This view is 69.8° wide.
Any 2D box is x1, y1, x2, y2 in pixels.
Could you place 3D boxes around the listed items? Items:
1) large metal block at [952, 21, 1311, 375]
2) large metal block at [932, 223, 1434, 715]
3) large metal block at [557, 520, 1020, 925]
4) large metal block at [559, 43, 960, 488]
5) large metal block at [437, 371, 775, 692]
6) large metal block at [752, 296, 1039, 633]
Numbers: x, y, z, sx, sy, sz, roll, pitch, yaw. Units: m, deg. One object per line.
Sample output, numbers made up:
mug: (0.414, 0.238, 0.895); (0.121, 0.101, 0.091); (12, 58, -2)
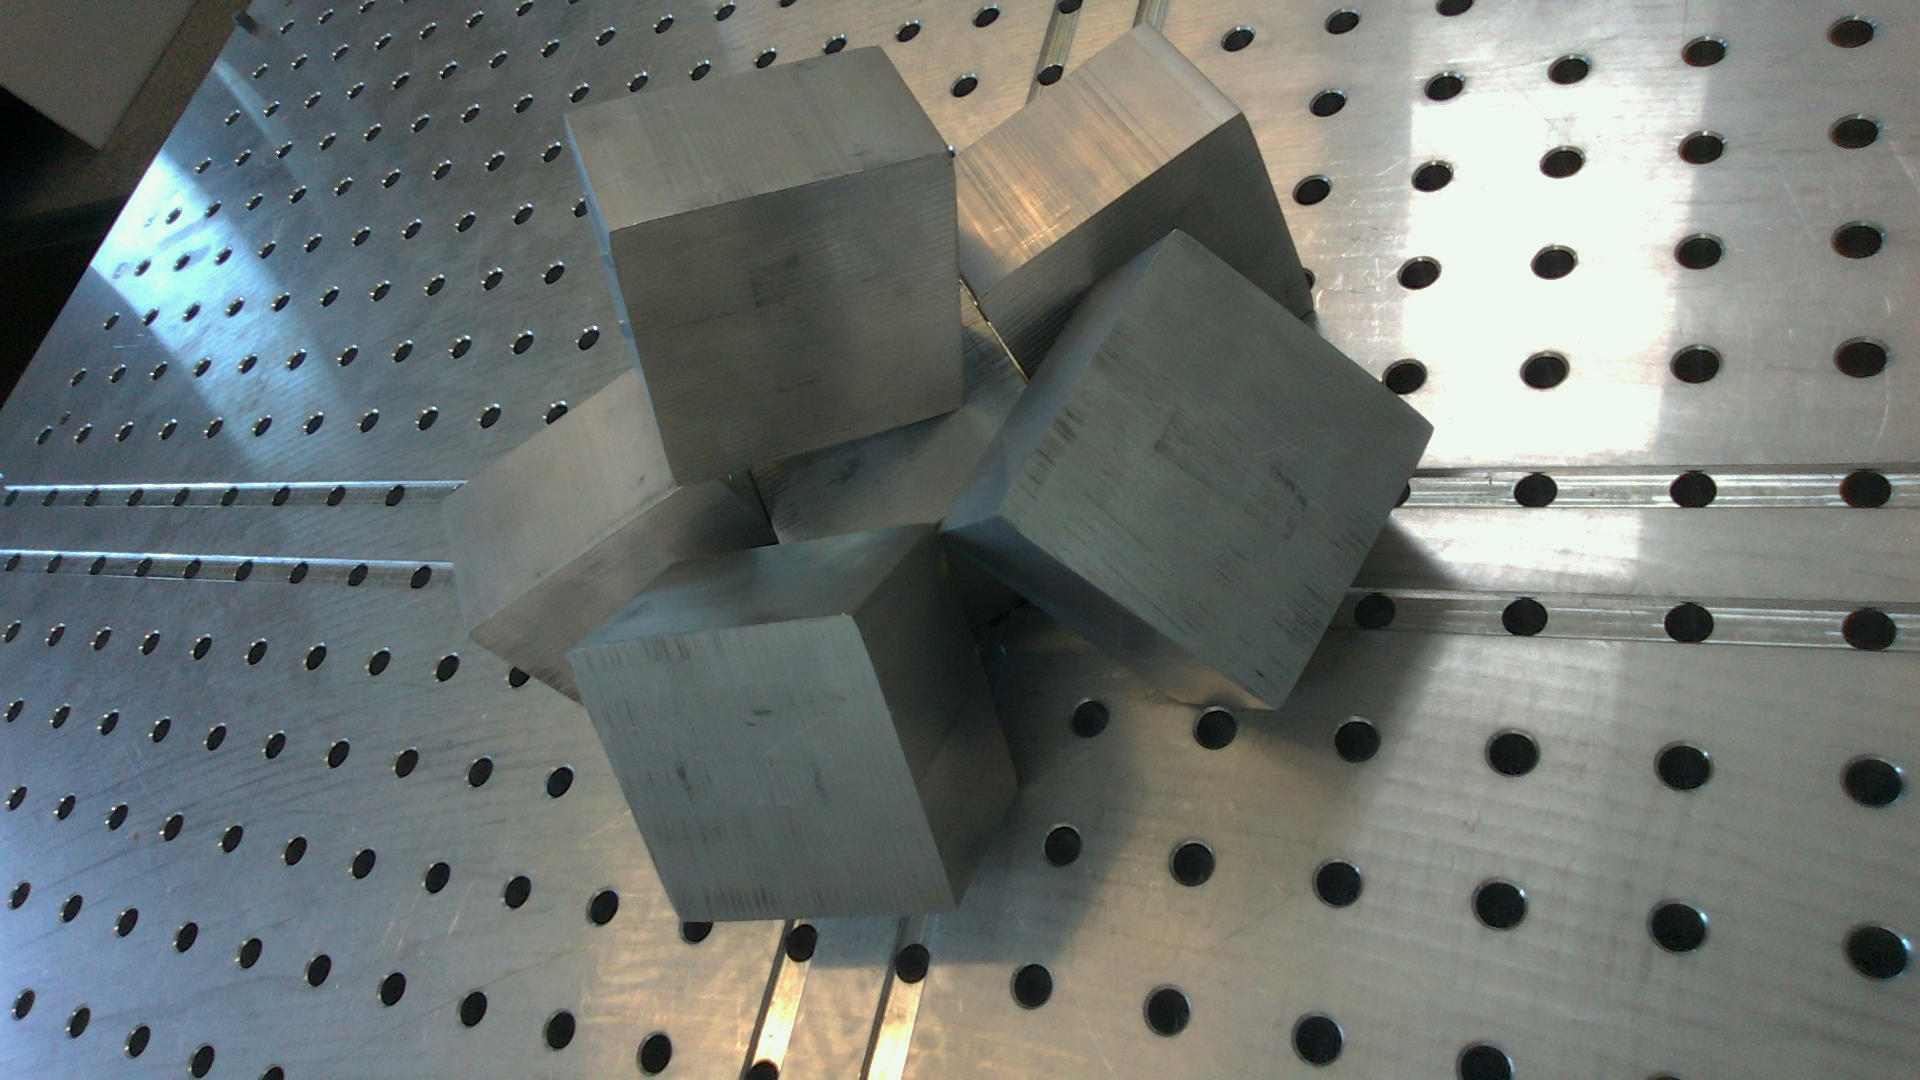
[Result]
large metal block: (0.043, -0.081, 0.388); (0.080, 0.080, 0.050); (-34, 51, 6)
large metal block: (0.052, -0.014, 0.333); (0.080, 0.080, 0.050); (-58, 11, -13)
large metal block: (-0.040, 0.047, 0.345); (0.080, 0.080, 0.050); (-9, 21, 24)
large metal block: (-0.047, -0.069, 0.348); (0.080, 0.080, 0.050); (-17, 50, -13)
large metal block: (-0.092, 0.002, 0.408); (0.080, 0.080, 0.050); (-33, 51, 6)
large metal block: (-0.011, -0.019, 0.400); (0.080, 0.050, 0.080); (-34, 51, 6)
